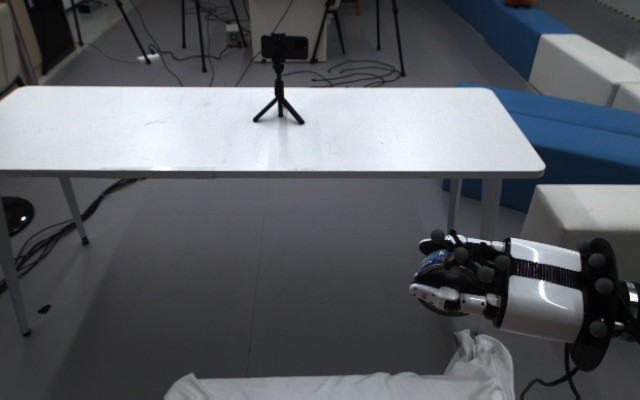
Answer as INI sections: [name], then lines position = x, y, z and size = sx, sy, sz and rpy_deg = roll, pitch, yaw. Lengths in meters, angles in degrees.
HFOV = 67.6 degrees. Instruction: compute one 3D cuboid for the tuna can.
[tuna can]
position = 0.167, 0.102, 0.611
size = 0.085, 0.085, 0.034
rpy_deg = 12, 33, 14
